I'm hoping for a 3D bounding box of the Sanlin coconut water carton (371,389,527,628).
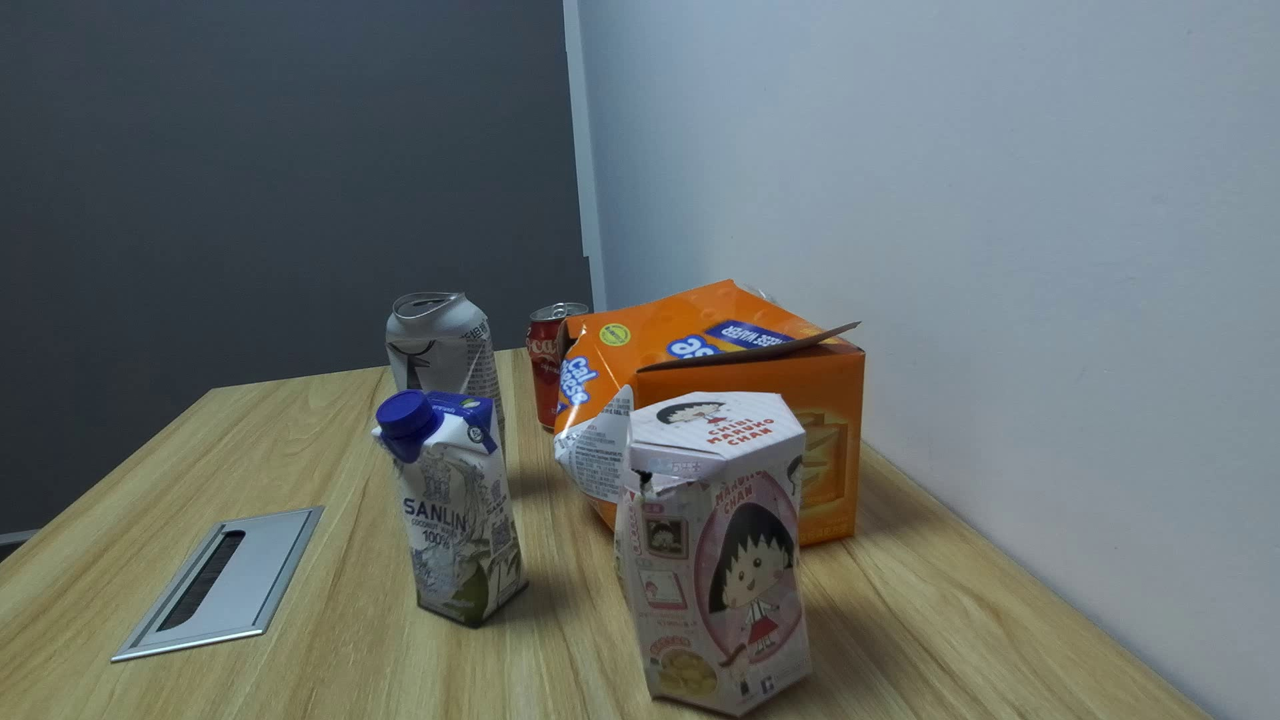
[{"bbox_3d":[-0.111,0.081,0.414,0.077,0.142,0.058,6,26,33],"label":"Sanlin coconut water carton"}]

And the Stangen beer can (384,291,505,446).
[{"bbox_3d":[-0.149,0.029,0.551,0.077,0.162,0.065,-13,19,-17],"label":"Stangen beer can"}]

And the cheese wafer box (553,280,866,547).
[{"bbox_3d":[0.029,0.032,0.520,0.192,0.145,0.218,-9,17,-16],"label":"cheese wafer box"}]

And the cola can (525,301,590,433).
[{"bbox_3d":[-0.069,0.007,0.670,0.066,0.117,0.066,6,19,36],"label":"cola can"}]

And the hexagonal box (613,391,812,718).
[{"bbox_3d":[0.036,0.091,0.349,0.091,0.134,0.090,-3,15,9],"label":"hexagonal box"}]
